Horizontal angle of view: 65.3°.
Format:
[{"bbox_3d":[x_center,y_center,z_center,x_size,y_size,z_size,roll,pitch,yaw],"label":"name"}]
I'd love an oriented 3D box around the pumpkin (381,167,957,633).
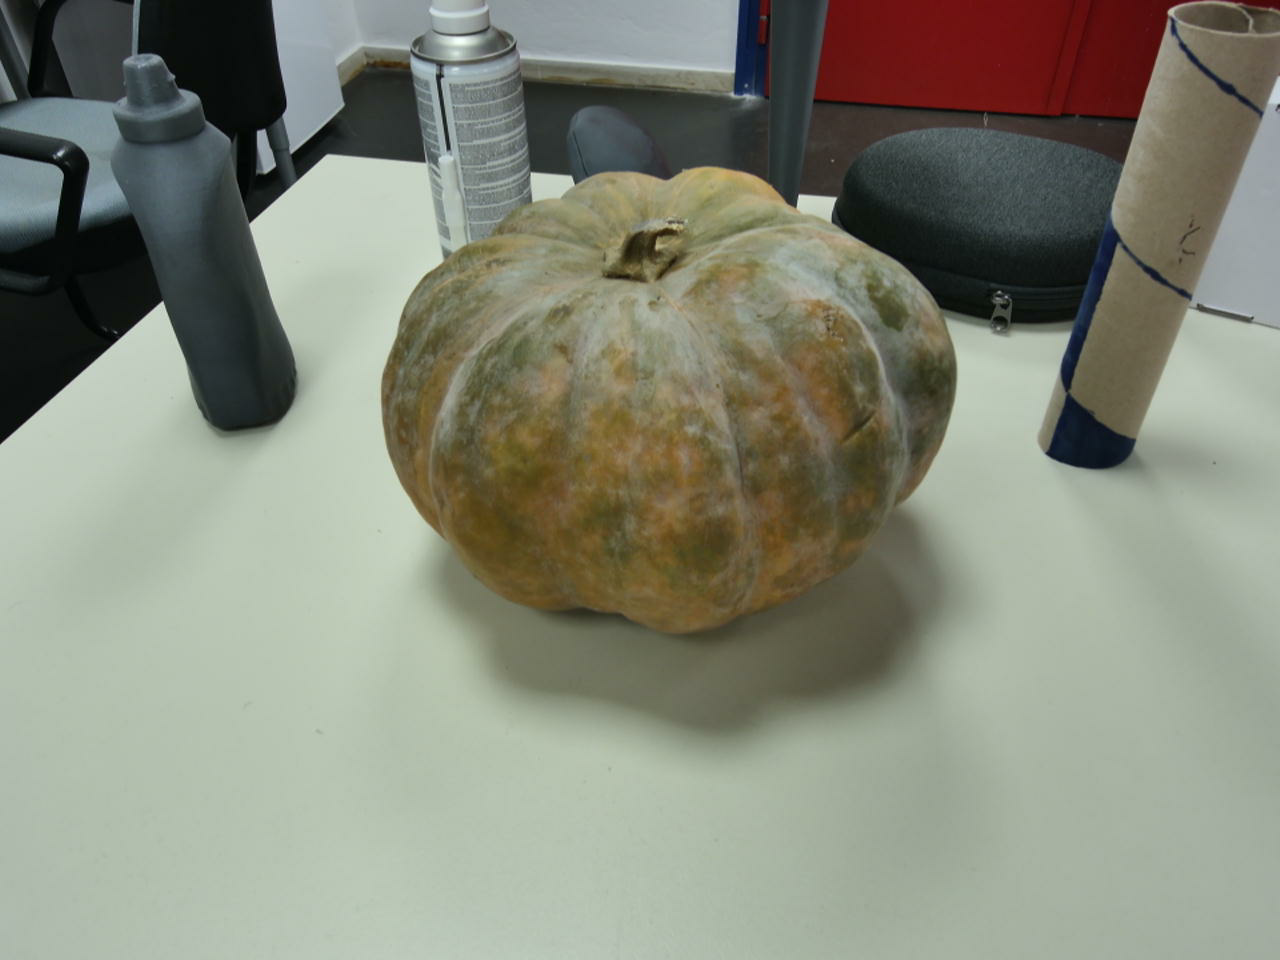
[{"bbox_3d":[0.006,-0.043,0.458,0.252,0.169,0.251,0,39,0],"label":"pumpkin"}]
